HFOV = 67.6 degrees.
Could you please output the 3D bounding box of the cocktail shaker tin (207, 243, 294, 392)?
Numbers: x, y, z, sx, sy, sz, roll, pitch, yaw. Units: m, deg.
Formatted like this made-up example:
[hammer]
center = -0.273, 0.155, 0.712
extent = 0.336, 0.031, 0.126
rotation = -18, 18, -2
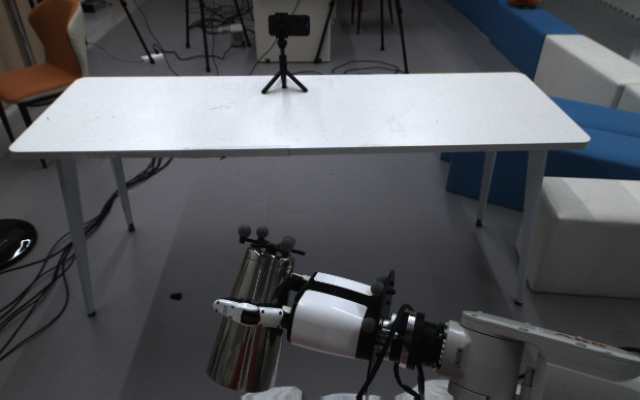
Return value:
[cocktail shaker tin]
center = -0.084, 0.151, 0.639
extent = 0.093, 0.170, 0.093
rotation = 13, 2, 0
